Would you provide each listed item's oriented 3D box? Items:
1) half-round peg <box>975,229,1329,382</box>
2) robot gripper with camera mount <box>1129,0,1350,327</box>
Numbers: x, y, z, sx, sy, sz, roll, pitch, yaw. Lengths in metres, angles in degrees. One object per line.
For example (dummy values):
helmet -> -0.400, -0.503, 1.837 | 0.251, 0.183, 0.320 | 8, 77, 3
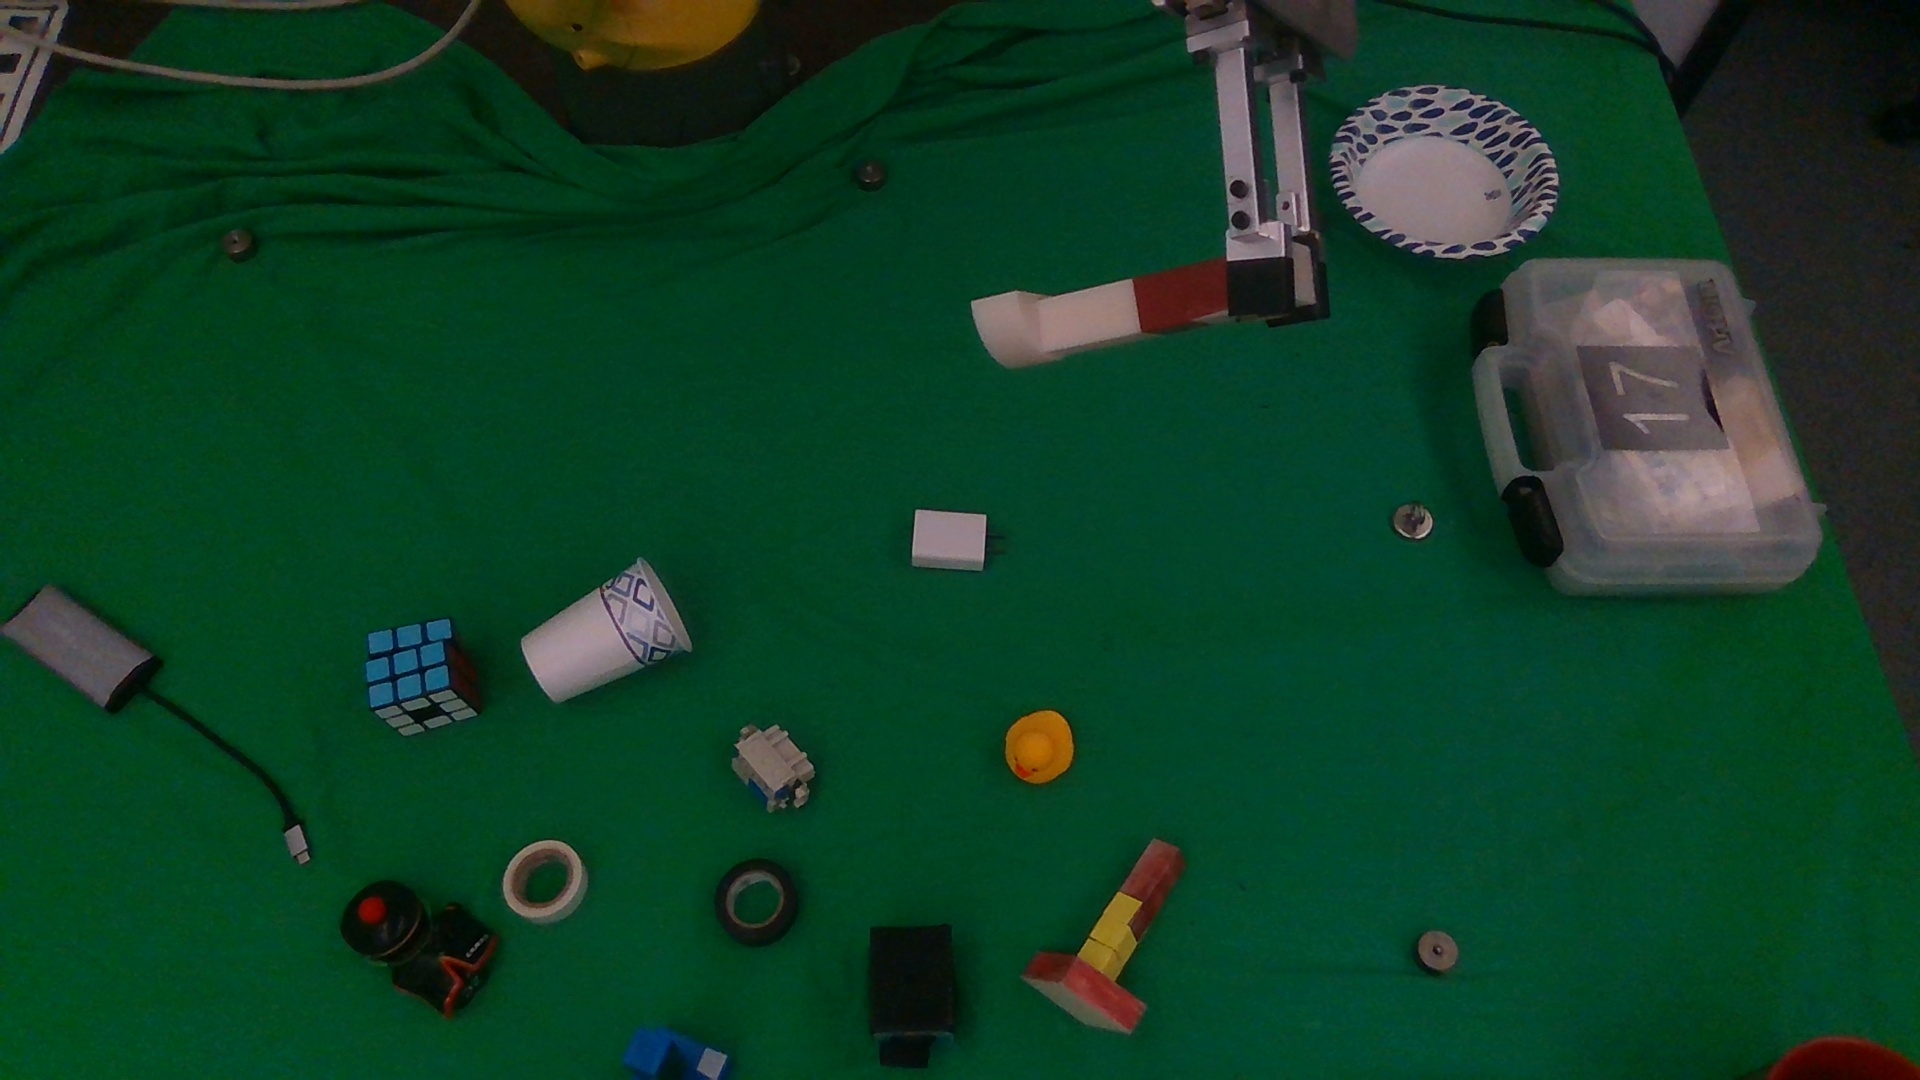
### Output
half-round peg -> 0.070, -0.084, 0.498 | 0.122, 0.054, 0.031 | -11, 92, 32
robot gripper with camera mount -> 0.166, -0.162, 0.429 | 0.194, 0.118, 0.158 | -8, 90, 34
